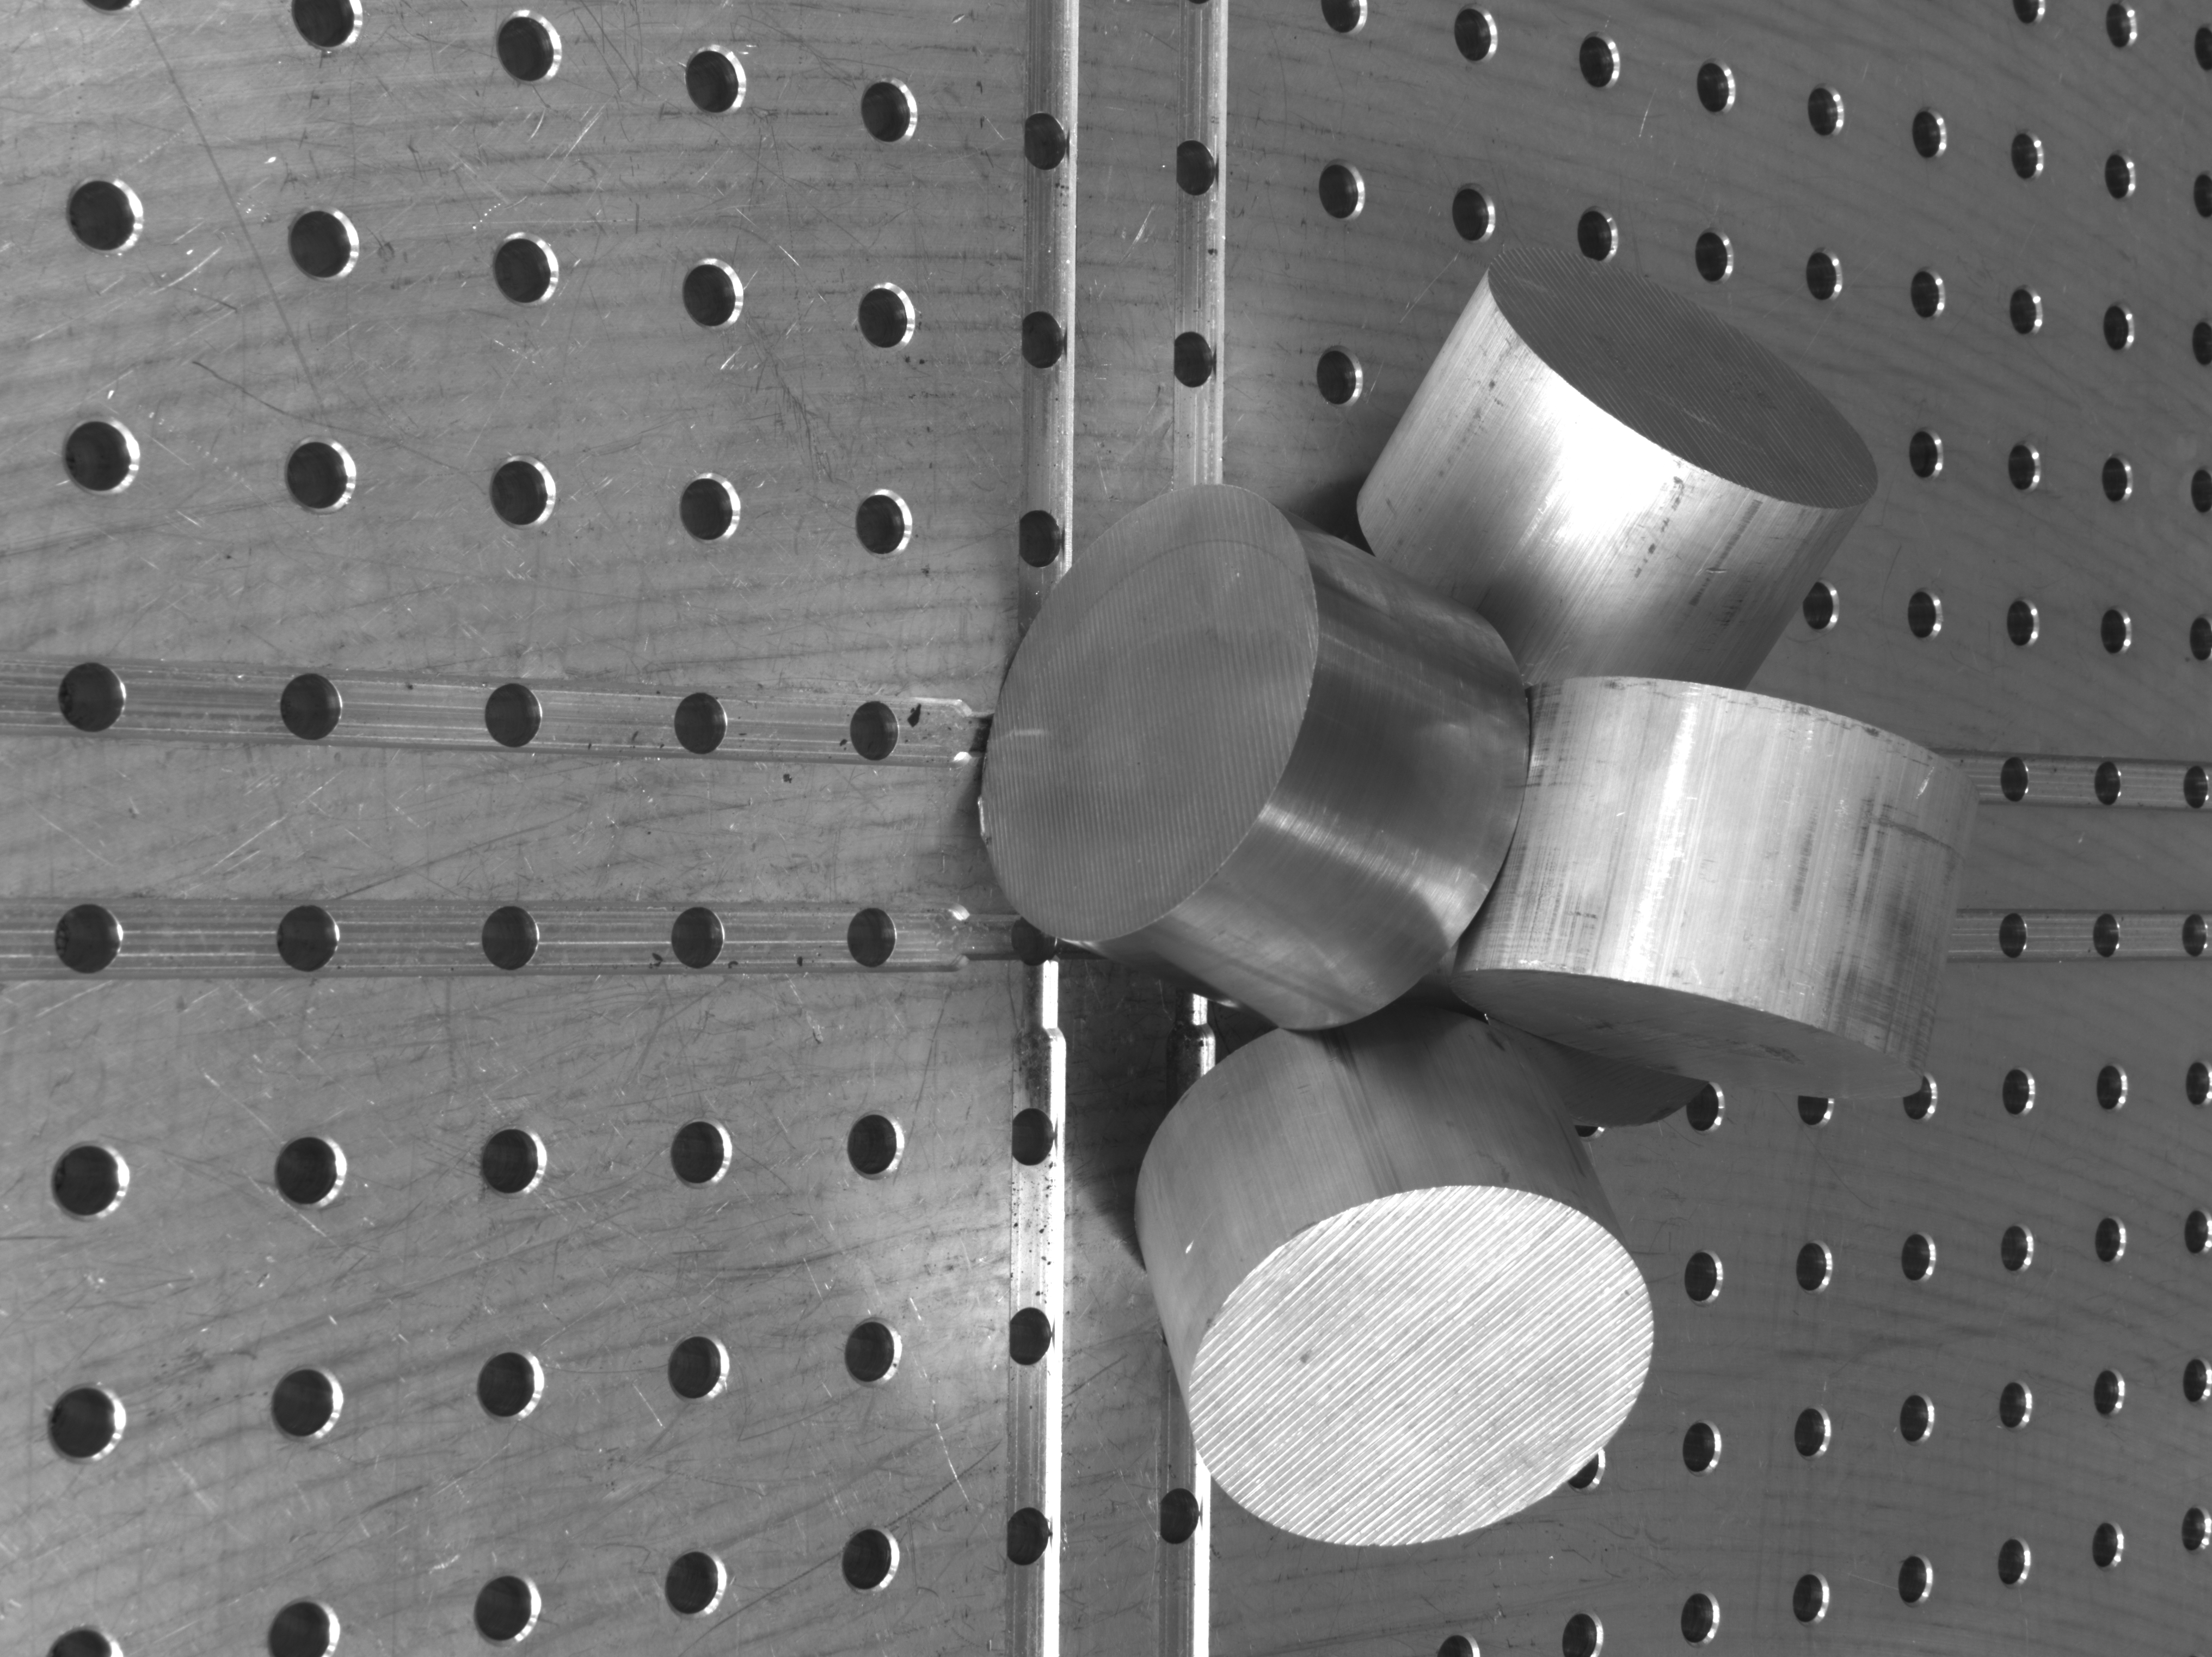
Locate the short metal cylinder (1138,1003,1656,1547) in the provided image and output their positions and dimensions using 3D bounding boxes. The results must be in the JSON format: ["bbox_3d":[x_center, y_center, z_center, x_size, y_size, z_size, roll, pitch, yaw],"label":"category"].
[{"bbox_3d":[0.049,0.077,0.637,0.080,0.050,0.080,-6,124,-8],"label":"short metal cylinder"}]

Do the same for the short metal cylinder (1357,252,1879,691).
[{"bbox_3d":[0.093,-0.062,0.672,0.080,0.080,0.050,3,128,-40],"label":"short metal cylinder"}]

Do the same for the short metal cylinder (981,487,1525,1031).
[{"bbox_3d":[0.024,-0.011,0.624,0.050,0.080,0.080,24,75,-37],"label":"short metal cylinder"}]

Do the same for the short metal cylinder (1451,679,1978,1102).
[{"bbox_3d":[0.103,0.012,0.624,0.080,0.080,0.050,22,76,-37],"label":"short metal cylinder"}]

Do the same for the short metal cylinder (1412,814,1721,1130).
[{"bbox_3d":[0.078,0.015,0.687,0.080,0.050,0.080,1,88,-39],"label":"short metal cylinder"}]
